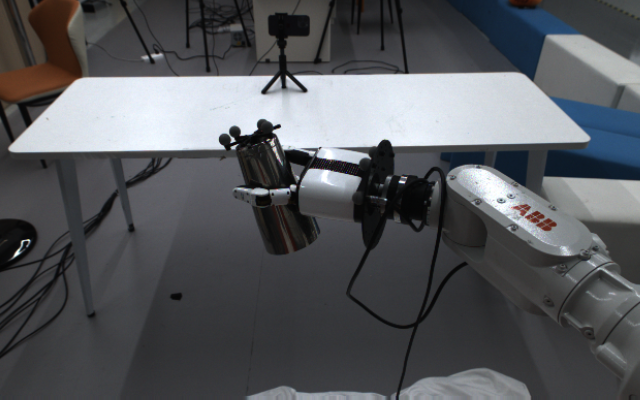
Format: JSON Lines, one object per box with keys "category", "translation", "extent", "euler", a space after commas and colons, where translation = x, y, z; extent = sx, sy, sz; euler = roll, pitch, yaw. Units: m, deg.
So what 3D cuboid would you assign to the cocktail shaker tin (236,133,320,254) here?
{"category": "cocktail shaker tin", "translation": [-0.069, -0.012, 0.744], "extent": [0.093, 0.170, 0.093], "euler": [-17, 20, 7]}
